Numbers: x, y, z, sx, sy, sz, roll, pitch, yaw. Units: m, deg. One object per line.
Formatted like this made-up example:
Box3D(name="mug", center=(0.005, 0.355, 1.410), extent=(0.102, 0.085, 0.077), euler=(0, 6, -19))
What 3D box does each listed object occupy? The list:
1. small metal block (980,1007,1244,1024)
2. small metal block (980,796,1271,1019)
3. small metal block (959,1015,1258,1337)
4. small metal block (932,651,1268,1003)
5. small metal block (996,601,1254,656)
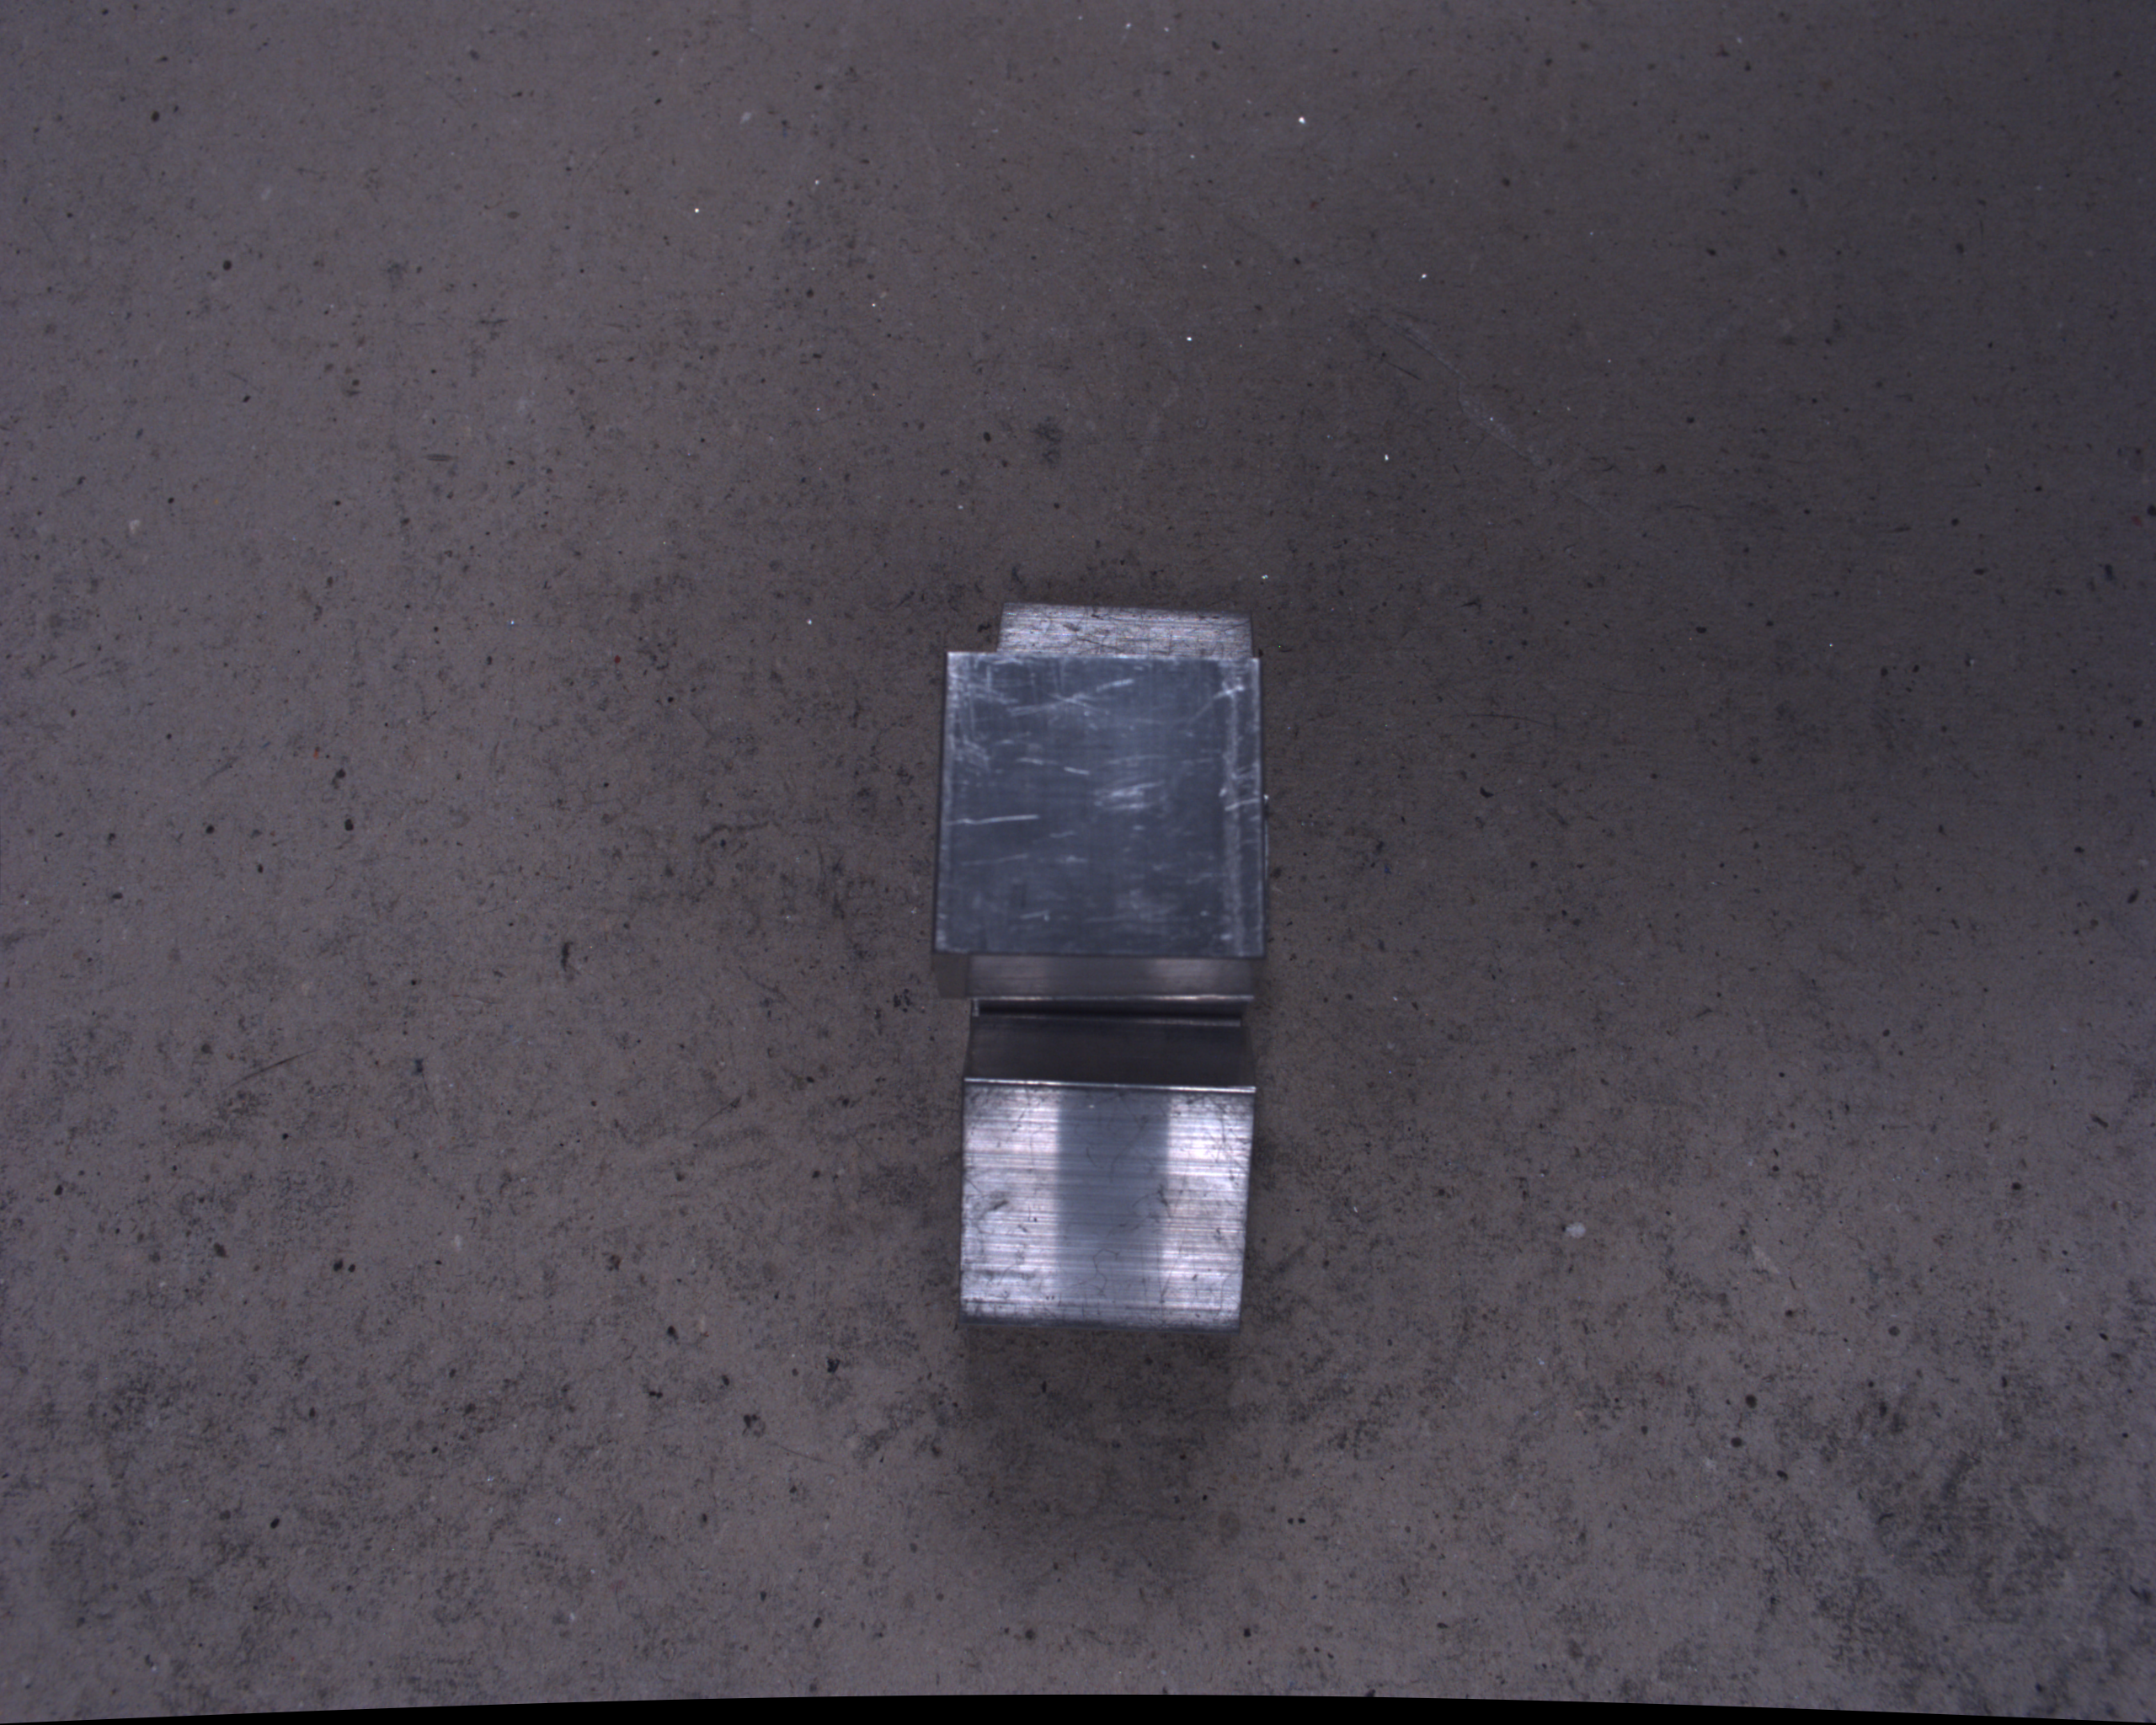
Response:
Box3D(name="small metal block", center=(0.006, 0.020, 0.403), extent=(0.050, 0.025, 0.050), euler=(2, 70, 0))
Box3D(name="small metal block", center=(0.006, 0.008, 0.366), extent=(0.050, 0.050, 0.025), euler=(2, 70, 0))
Box3D(name="small metal block", center=(0.005, 0.056, 0.375), extent=(0.050, 0.025, 0.050), euler=(2, 111, 0))
Box3D(name="small metal block", center=(0.004, -0.005, 0.332), extent=(0.050, 0.025, 0.050), euler=(1, 70, 0))
Box3D(name="small metal block", center=(0.009, -0.027, 0.407), extent=(0.050, 0.025, 0.050), euler=(2, 34, 1))
